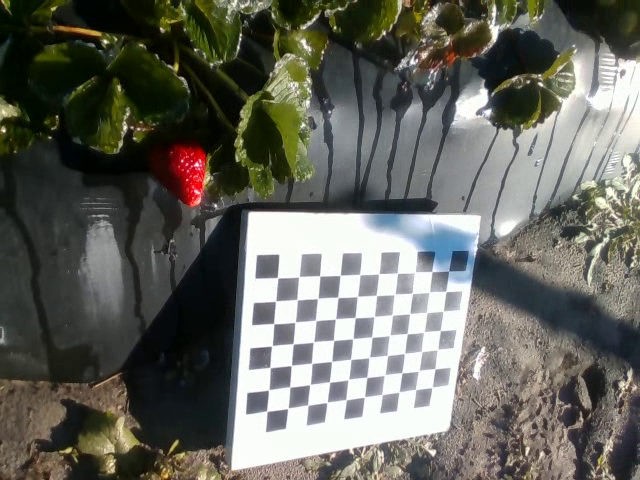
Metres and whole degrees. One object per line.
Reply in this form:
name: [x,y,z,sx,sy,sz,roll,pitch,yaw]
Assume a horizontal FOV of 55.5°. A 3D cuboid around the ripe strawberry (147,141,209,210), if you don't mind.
ripe strawberry: [-0.093,-0.045,0.411,0.041,0.053,0.047,-8,-21,-25]
